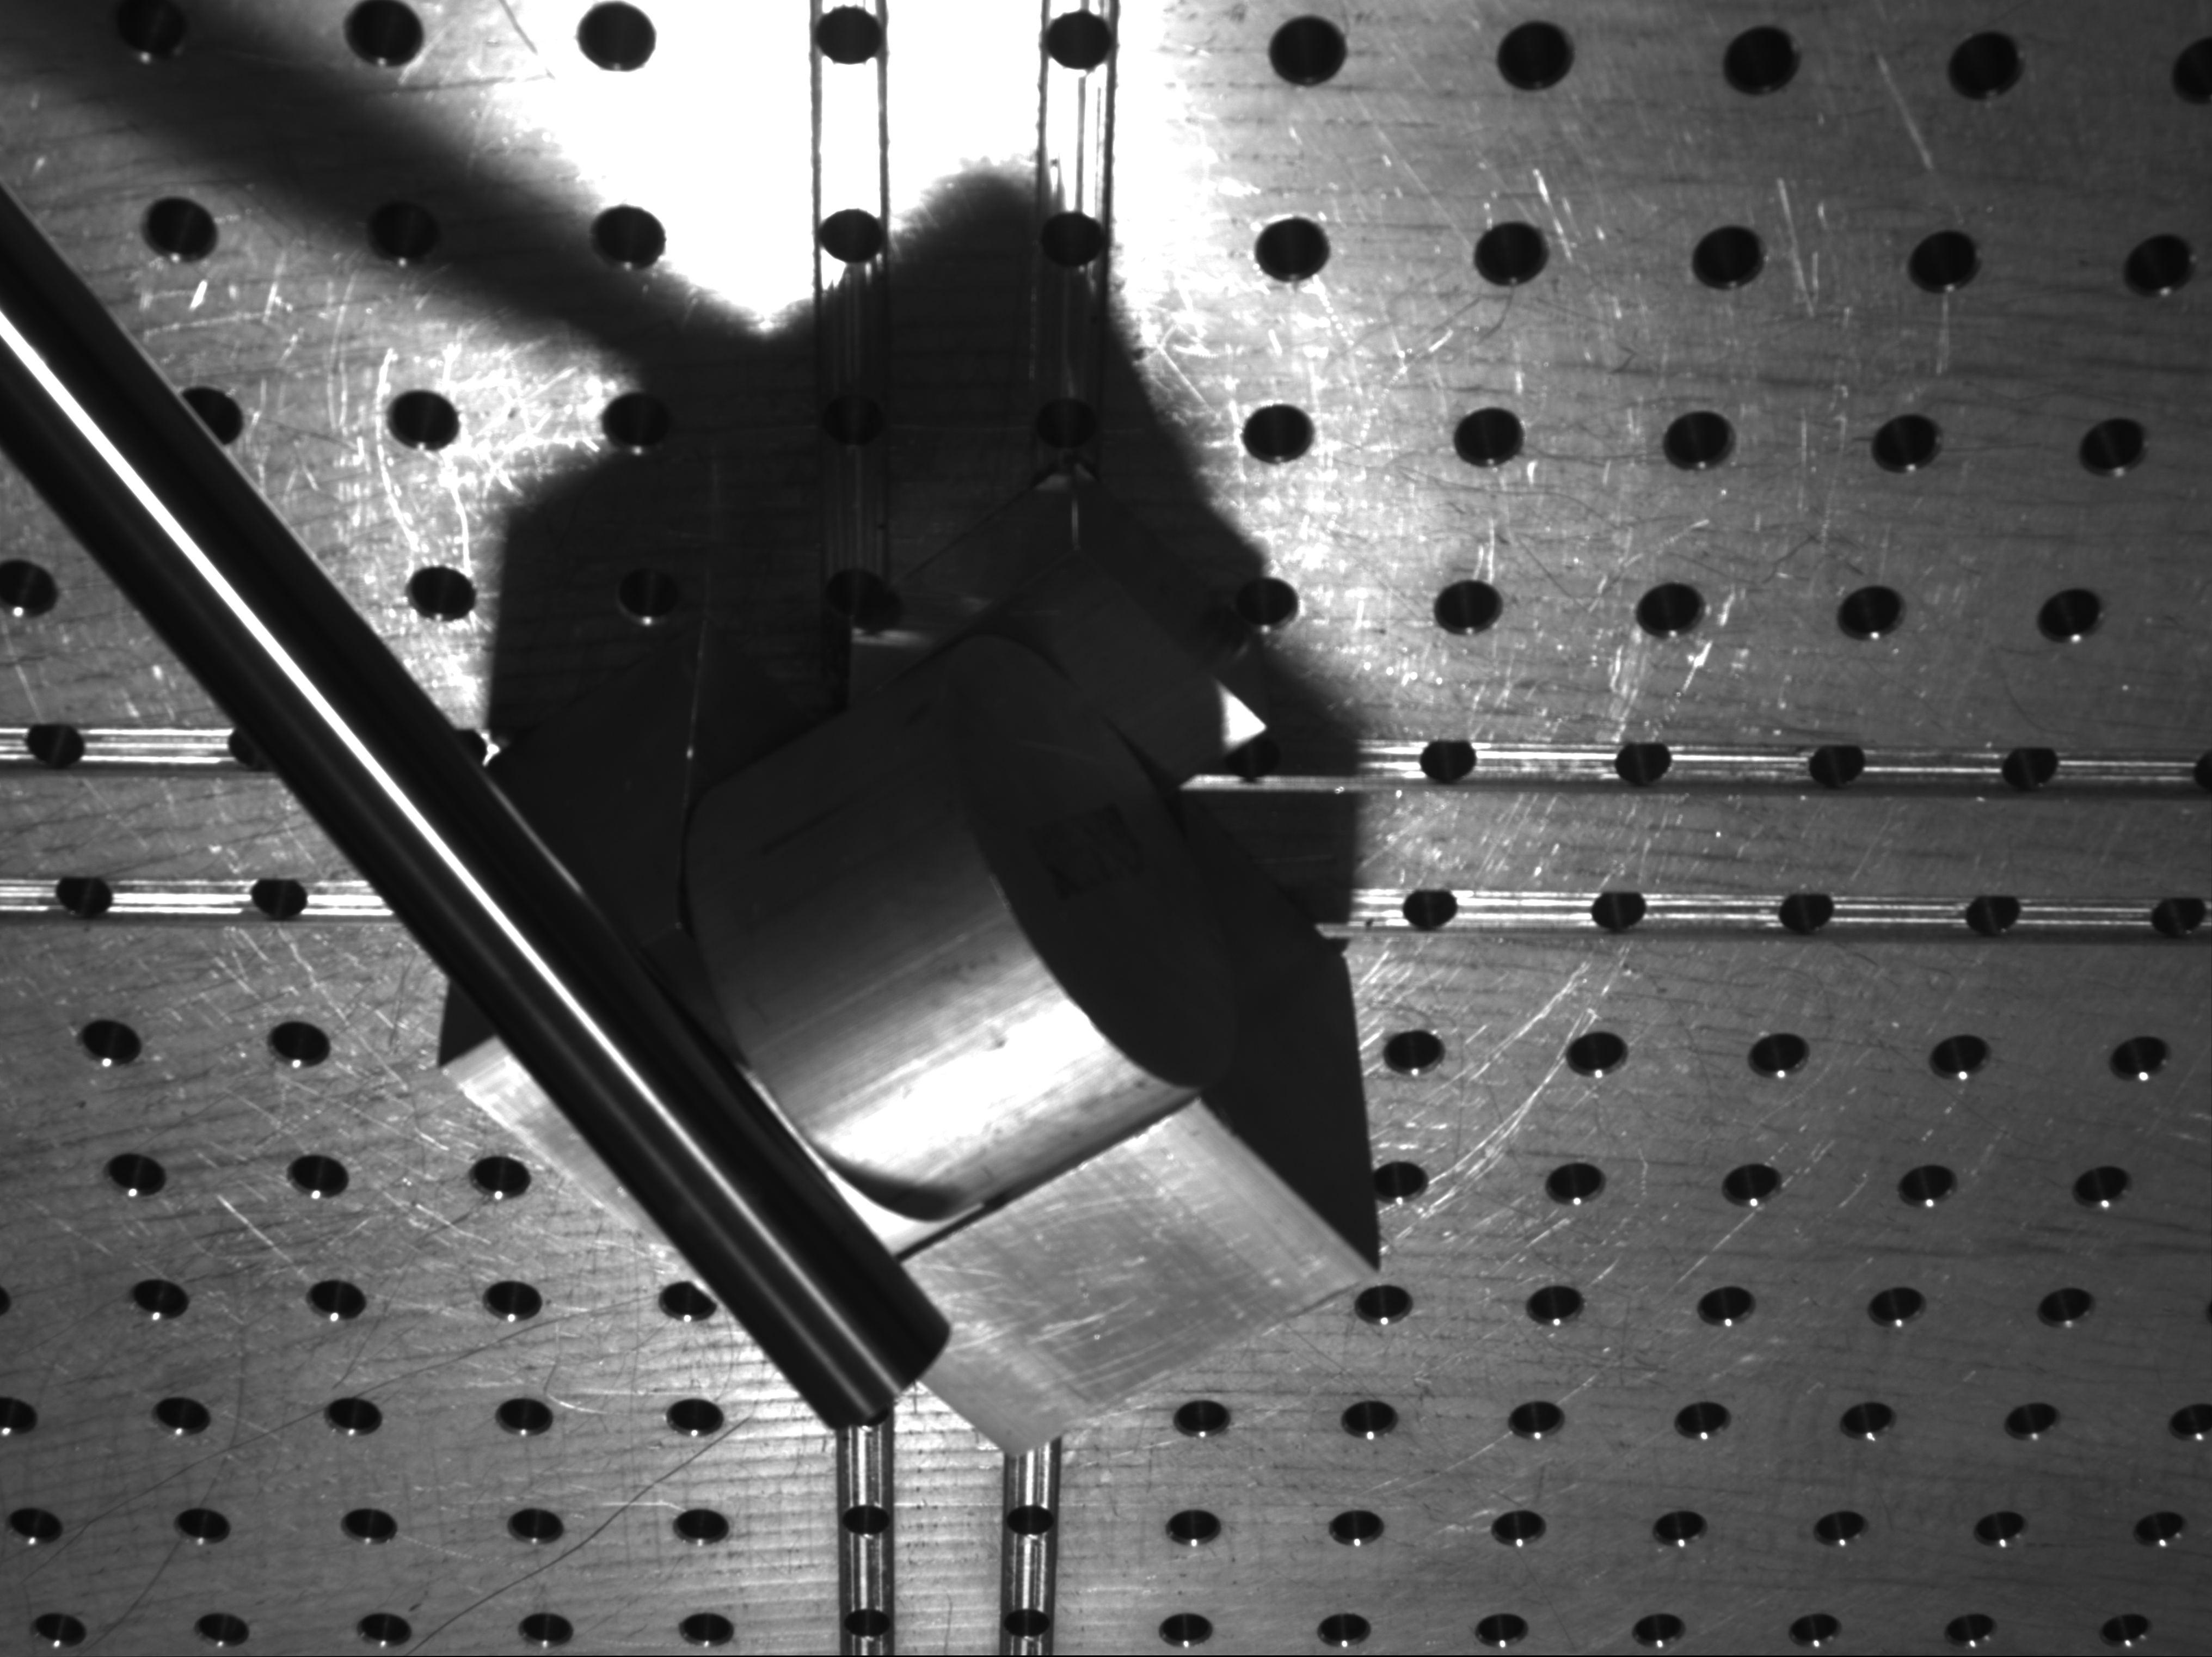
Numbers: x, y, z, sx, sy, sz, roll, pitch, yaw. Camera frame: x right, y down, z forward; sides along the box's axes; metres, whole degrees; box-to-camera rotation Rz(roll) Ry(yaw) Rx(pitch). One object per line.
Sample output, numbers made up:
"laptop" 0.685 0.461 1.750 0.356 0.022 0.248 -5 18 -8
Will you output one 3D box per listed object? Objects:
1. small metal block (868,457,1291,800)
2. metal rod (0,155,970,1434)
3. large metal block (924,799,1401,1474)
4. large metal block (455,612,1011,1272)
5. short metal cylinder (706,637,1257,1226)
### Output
"small metal block" -0.005 -0.026 0.620 0.050 0.025 0.050 -34 123 24
"metal rod" -0.122 -0.030 0.544 0.025 0.025 0.300 -33 102 24
"large metal block" 0.002 0.054 0.649 0.080 0.080 0.050 -30 124 22
"large metal block" -0.061 0.025 0.625 0.050 0.080 0.080 -30 125 22
"short metal cylinder" -0.019 0.017 0.586 0.050 0.080 0.080 -29 125 21
